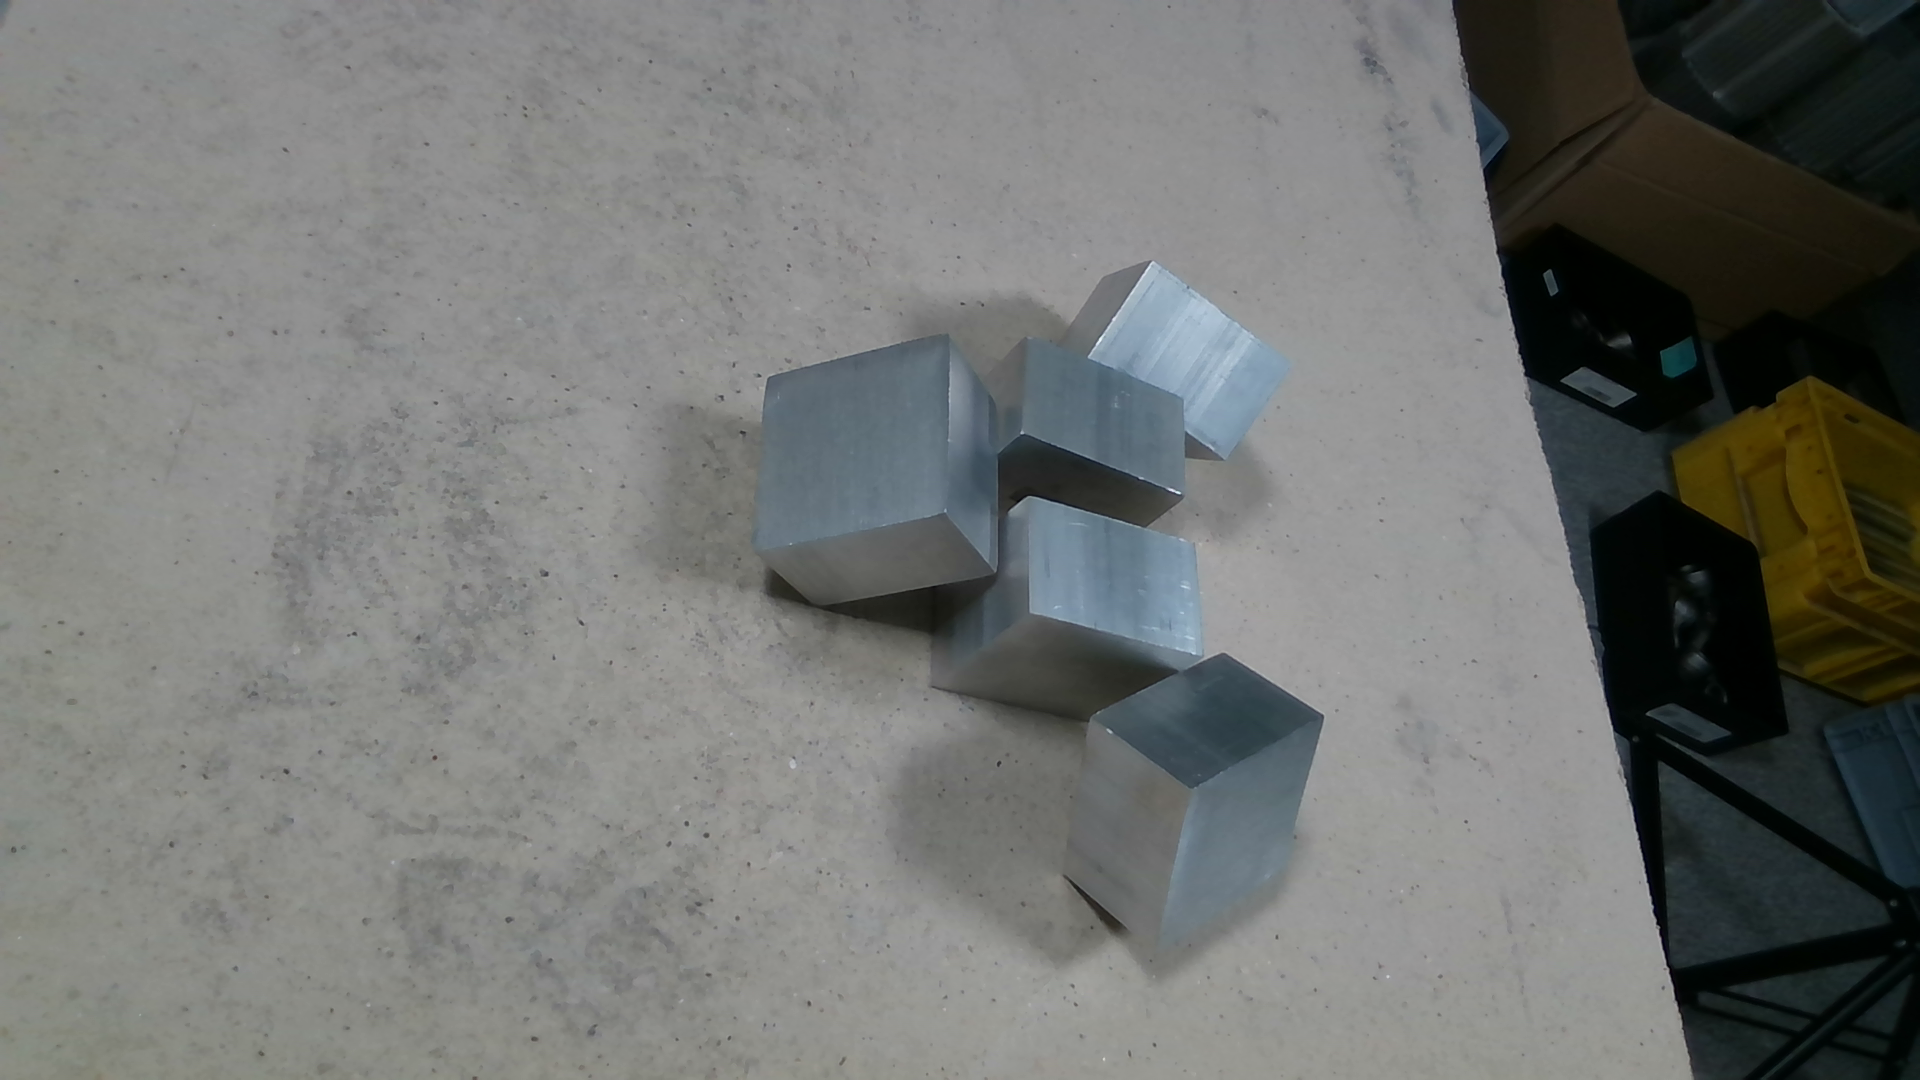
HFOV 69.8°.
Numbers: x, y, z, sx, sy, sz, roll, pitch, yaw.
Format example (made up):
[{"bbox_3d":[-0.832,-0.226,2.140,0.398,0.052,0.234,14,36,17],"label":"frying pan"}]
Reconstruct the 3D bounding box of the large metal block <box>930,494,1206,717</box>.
[{"bbox_3d":[0.041,0.031,0.560,0.080,0.080,0.050,15,58,-24],"label":"large metal block"}]

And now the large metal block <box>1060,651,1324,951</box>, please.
[{"bbox_3d":[0.091,0.101,0.544,0.080,0.080,0.050,-19,39,-38],"label":"large metal block"}]

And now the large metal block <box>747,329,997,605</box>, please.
[{"bbox_3d":[-0.032,-0.027,0.537,0.050,0.080,0.080,50,35,-54],"label":"large metal block"}]

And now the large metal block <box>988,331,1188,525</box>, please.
[{"bbox_3d":[0.042,-0.035,0.595,0.080,0.080,0.050,19,57,-22],"label":"large metal block"}]

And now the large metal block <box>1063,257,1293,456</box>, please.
[{"bbox_3d":[0.094,-0.083,0.642,0.080,0.080,0.050,34,88,-12],"label":"large metal block"}]
